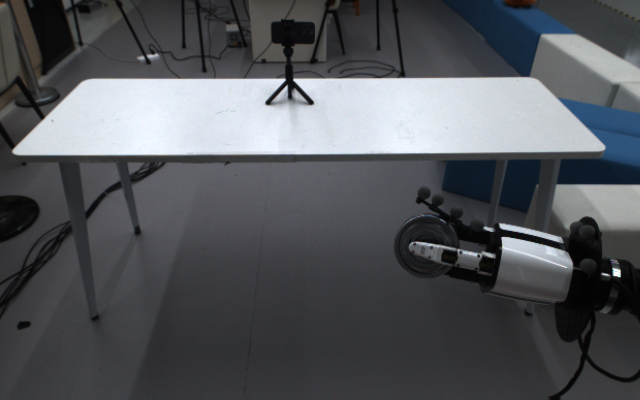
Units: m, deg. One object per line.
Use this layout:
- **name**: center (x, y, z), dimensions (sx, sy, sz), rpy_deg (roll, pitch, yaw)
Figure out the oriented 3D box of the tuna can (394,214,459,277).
- **tuna can**: center (0.145, 0.059, 0.649), dimensions (0.085, 0.085, 0.034), rpy_deg (12, 4, 15)
